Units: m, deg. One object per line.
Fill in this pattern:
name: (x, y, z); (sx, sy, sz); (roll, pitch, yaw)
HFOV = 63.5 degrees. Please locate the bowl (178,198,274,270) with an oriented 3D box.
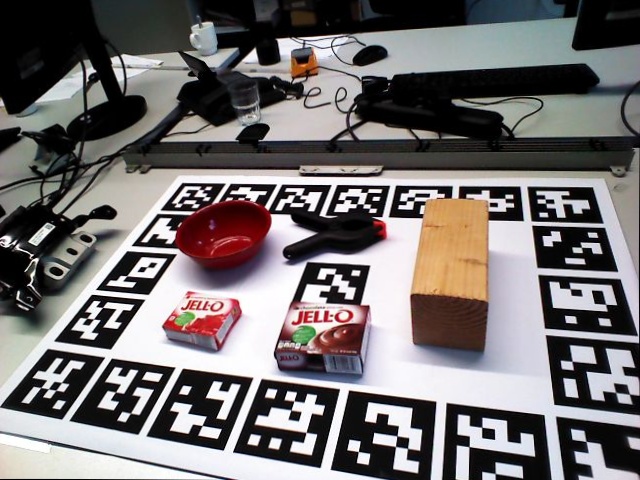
bowl: (-0.148, -0.001, 0.856); (0.162, 0.055, 0.161); (-7, 41, 6)

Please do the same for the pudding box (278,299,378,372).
pudding box: (0.013, 0.121, 0.662); (0.114, 0.039, 0.089); (-1, 43, 18)

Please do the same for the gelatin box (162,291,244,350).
gelatin box: (-0.164, 0.110, 0.726); (0.090, 0.030, 0.073); (7, 43, 23)

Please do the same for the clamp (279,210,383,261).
clamp: (0.019, -0.015, 0.847); (0.166, 0.037, 0.121); (-4, 38, 7)

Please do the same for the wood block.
wood block: (0.189, 0.032, 0.685); (0.090, 0.091, 0.204); (4, 40, 18)
